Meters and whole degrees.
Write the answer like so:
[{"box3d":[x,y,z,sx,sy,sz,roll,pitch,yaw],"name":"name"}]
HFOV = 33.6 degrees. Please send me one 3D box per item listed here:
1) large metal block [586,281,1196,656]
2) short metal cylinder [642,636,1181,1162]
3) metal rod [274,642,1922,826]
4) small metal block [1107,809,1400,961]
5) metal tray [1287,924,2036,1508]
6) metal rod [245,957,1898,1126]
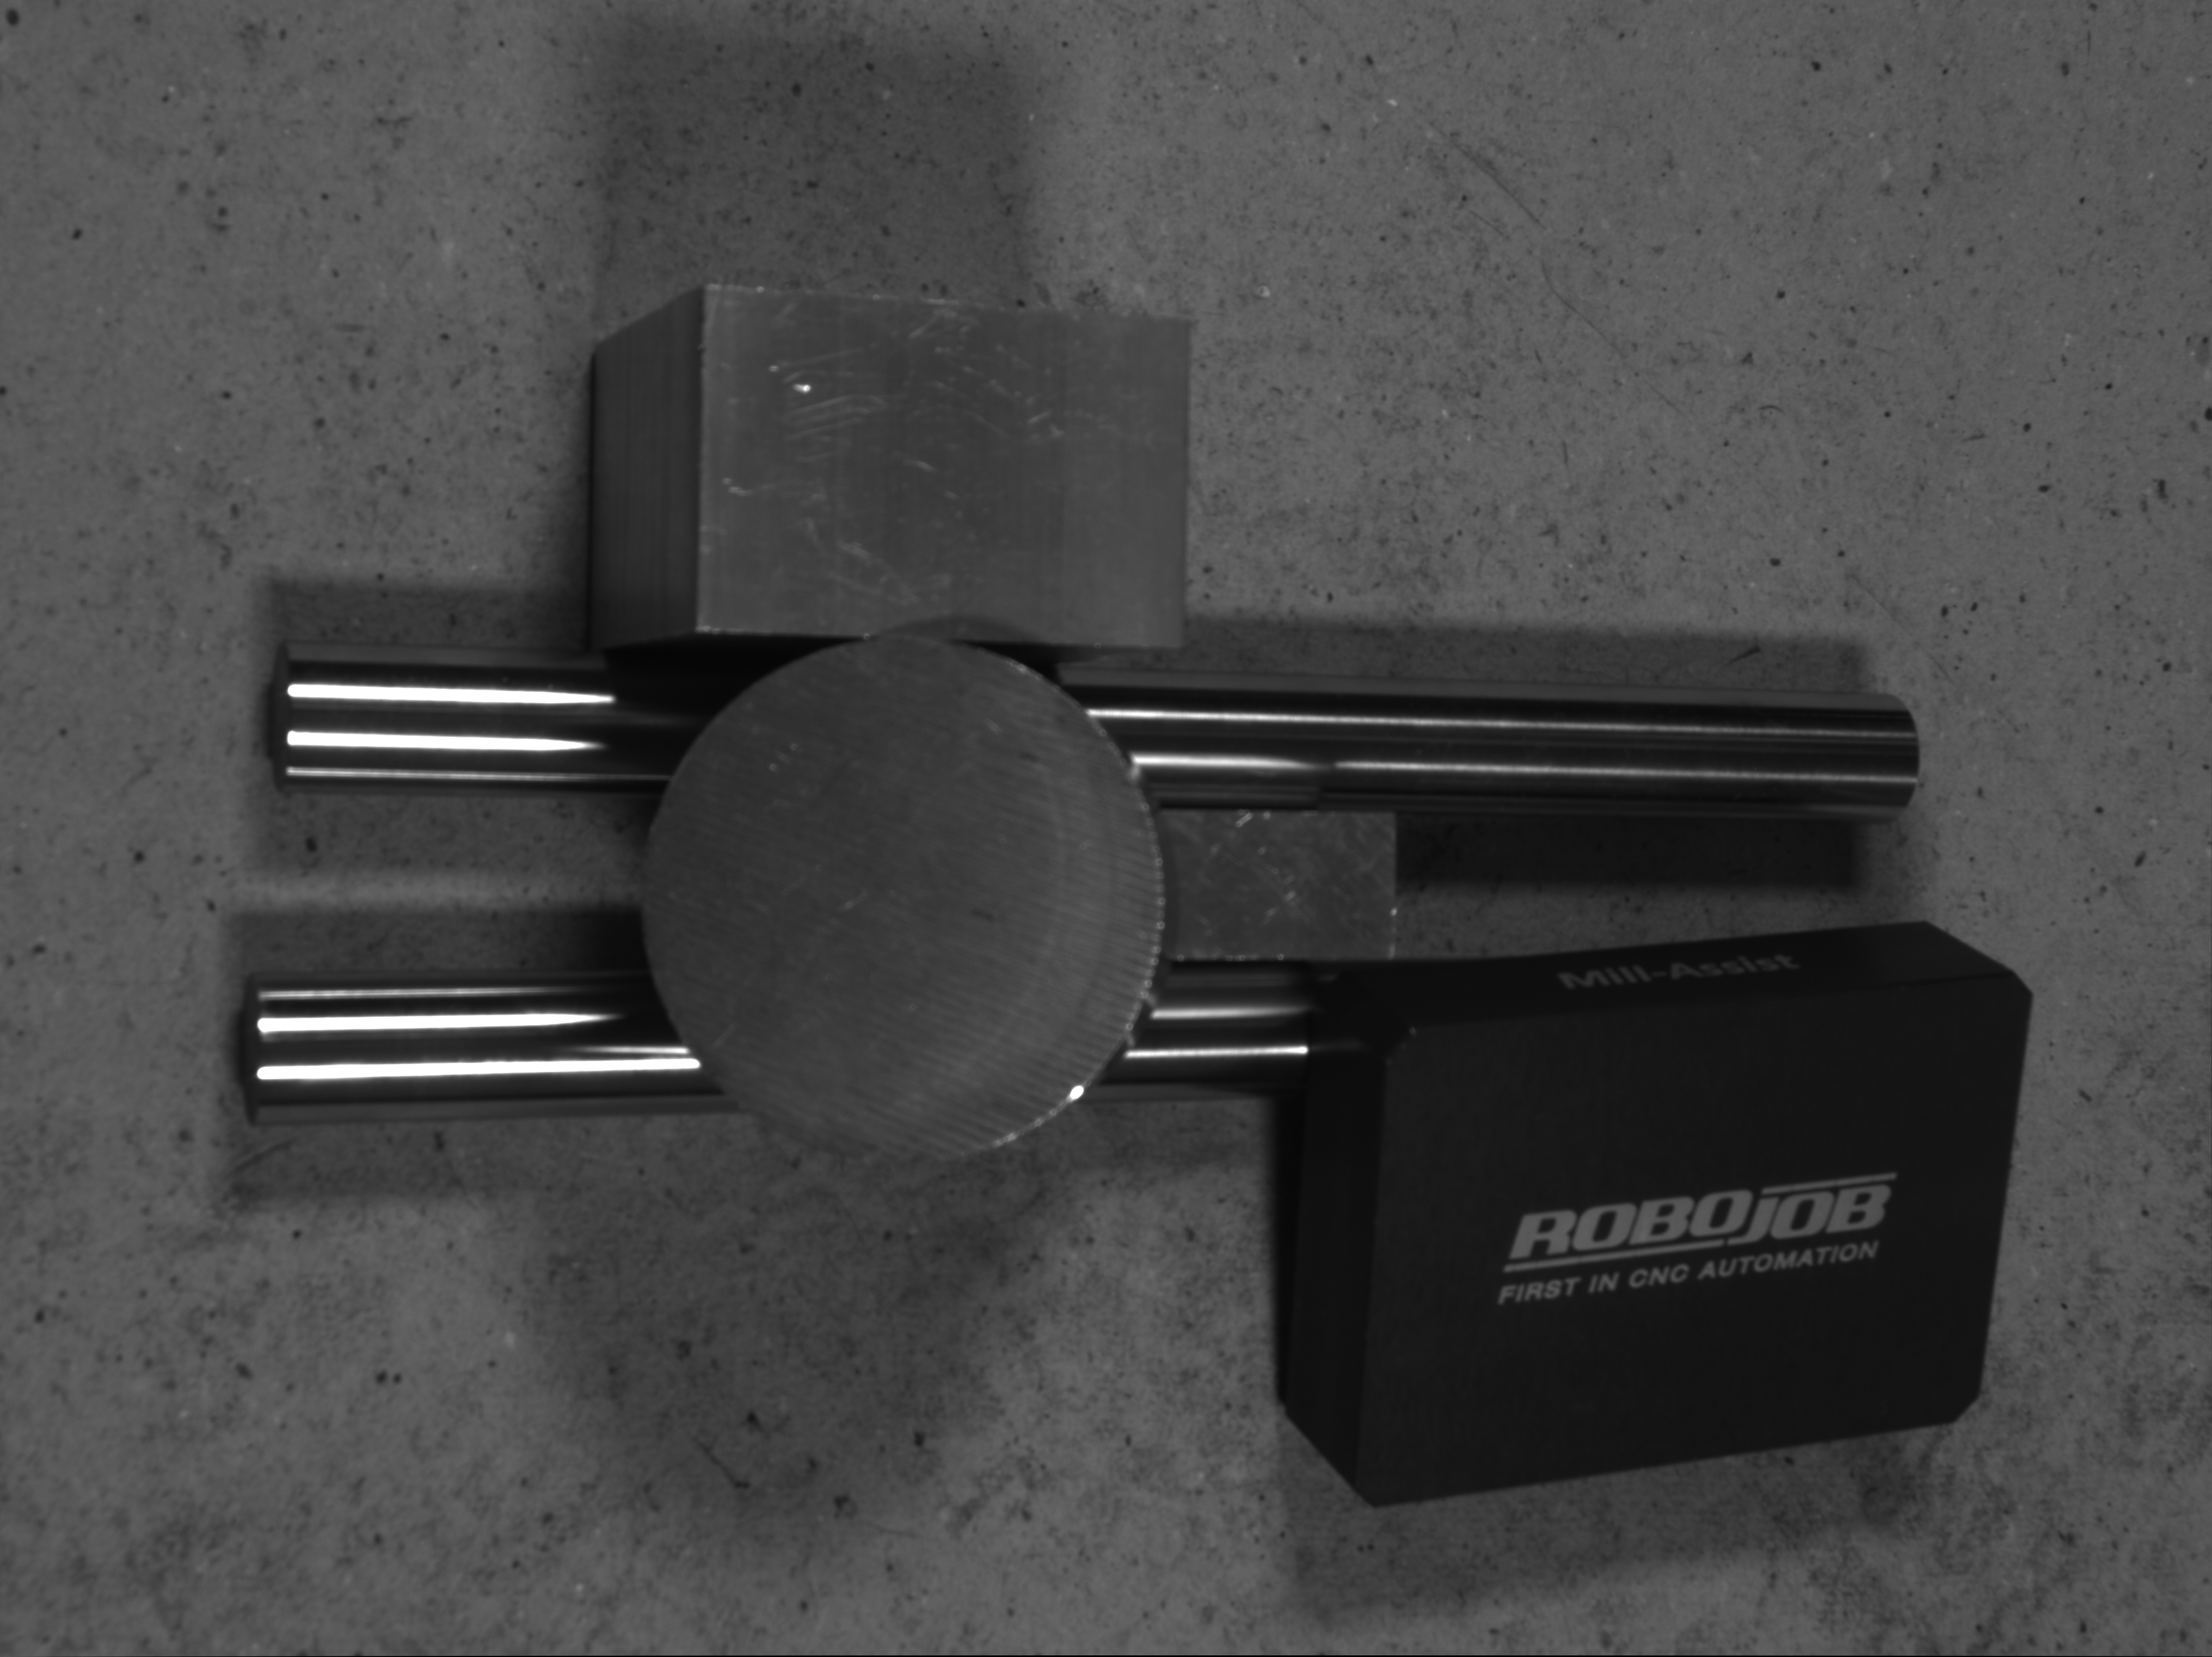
[{"box3d":[-0.037,-0.056,0.601,0.080,0.080,0.050,1,90,-20],"name":"large metal block"},{"box3d":[-0.029,0.011,0.582,0.080,0.050,0.080,0,88,4],"name":"short metal cylinder"},{"box3d":[0.007,-0.015,0.647,0.301,0.025,0.025,1,90,-20],"name":"metal rod"},{"box3d":[0.018,0.010,0.636,0.050,0.050,0.025,1,90,-20],"name":"small metal block"},{"box3d":[0.100,0.068,0.662,0.130,0.030,0.090,-4,109,-21],"name":"metal tray"},{"box3d":[0.003,0.036,0.645,0.301,0.025,0.025,0,90,-20],"name":"metal rod"}]
